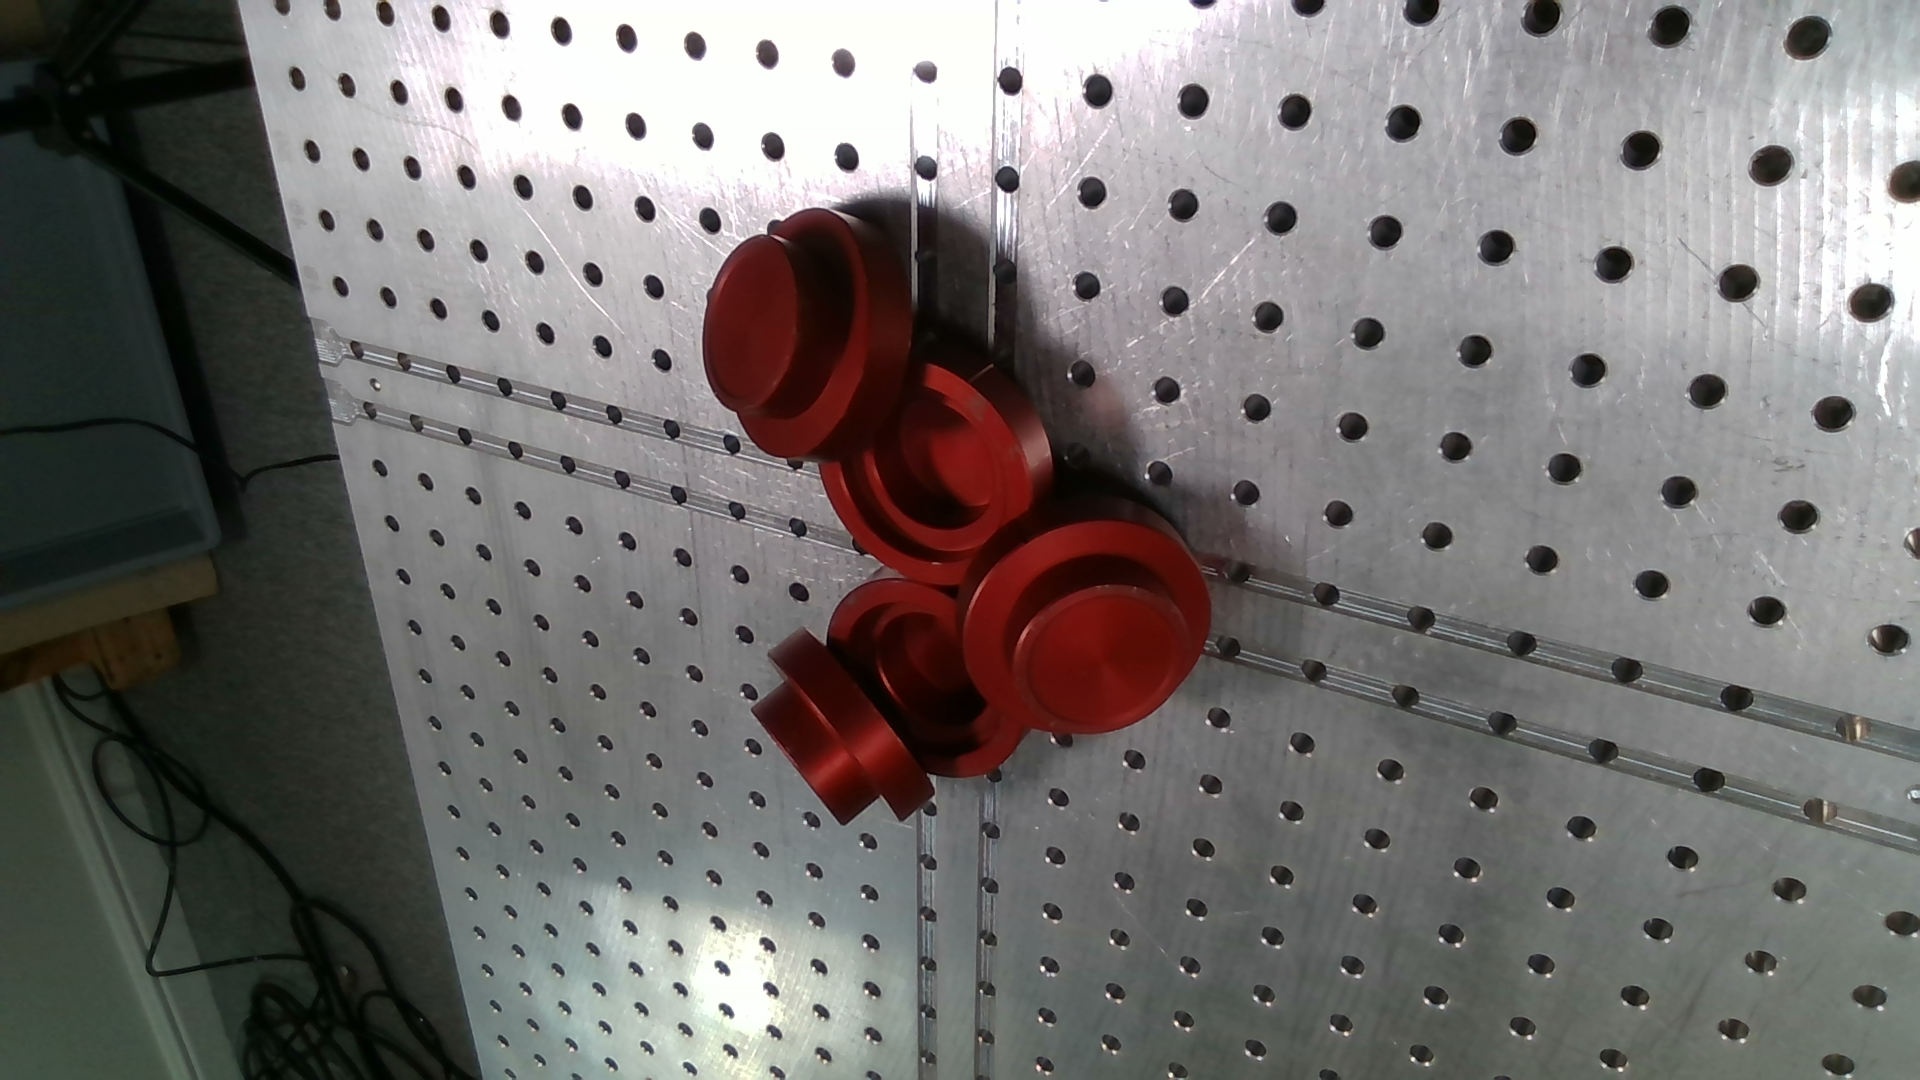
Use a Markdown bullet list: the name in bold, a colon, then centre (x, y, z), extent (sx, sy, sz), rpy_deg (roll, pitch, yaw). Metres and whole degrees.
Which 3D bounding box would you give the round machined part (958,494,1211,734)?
- **round machined part**: centre (0.050, 0.035, 0.528), extent (0.098, 0.042, 0.098), rpy_deg (-5, 119, -8)

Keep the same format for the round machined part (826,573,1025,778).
- **round machined part**: centre (-0.007, 0.052, 0.605), extent (0.098, 0.042, 0.098), rpy_deg (14, 122, 25)

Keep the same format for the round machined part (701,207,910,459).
- **round machined part**: centre (-0.066, -0.081, 0.538), extent (0.098, 0.042, 0.098), rpy_deg (-8, 79, 49)

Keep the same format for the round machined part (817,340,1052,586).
- **round machined part**: centre (-0.007, -0.034, 0.556), extent (0.098, 0.042, 0.098), rpy_deg (14, 122, 25)

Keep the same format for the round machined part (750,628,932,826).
- **round machined part**: centre (-0.058, 0.090, 0.623), extent (0.098, 0.042, 0.098), rpy_deg (48, 167, 15)
